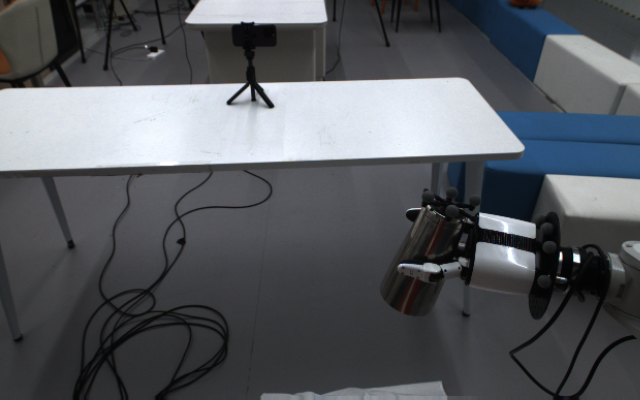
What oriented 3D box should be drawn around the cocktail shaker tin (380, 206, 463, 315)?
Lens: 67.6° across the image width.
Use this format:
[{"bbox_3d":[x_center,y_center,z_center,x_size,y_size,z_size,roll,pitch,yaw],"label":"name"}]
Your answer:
[{"bbox_3d":[0.164,0.081,0.743,0.093,0.170,0.093,12,29,-7],"label":"cocktail shaker tin"}]
